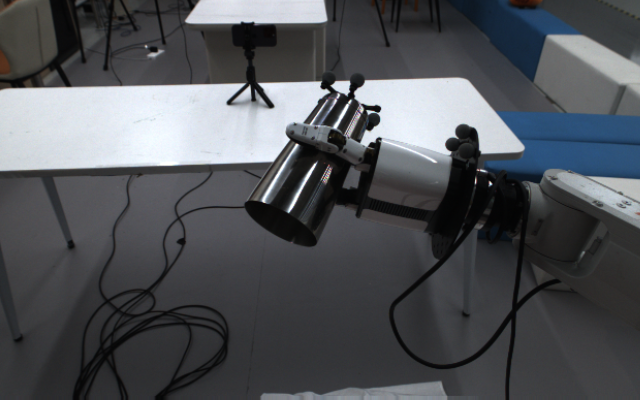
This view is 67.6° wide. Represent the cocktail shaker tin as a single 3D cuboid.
[{"bbox_3d":[-0.004,-0.044,0.566,0.093,0.093,0.170,18,66,21],"label":"cocktail shaker tin"}]
